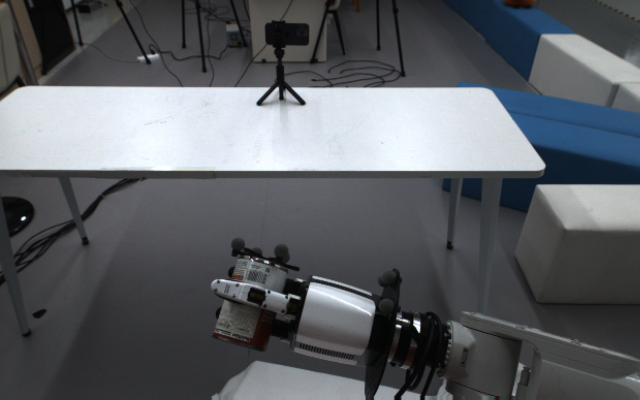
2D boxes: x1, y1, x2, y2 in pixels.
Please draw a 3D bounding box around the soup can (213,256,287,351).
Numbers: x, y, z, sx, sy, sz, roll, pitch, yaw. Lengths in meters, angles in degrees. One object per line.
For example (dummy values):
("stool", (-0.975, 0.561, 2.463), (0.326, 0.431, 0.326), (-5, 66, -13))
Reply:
("soup can", (-0.081, 0.127, 0.591), (0.067, 0.067, 0.101), (11, 72, 13))
